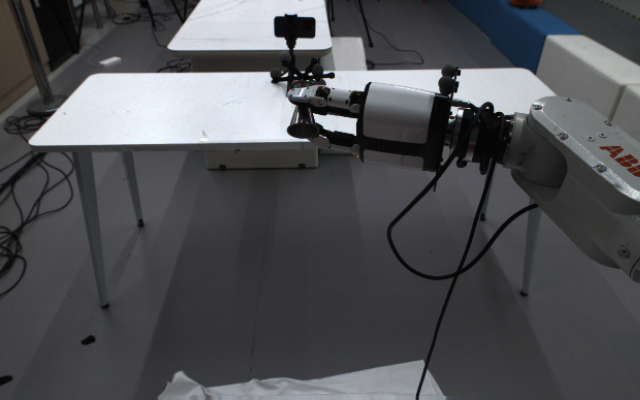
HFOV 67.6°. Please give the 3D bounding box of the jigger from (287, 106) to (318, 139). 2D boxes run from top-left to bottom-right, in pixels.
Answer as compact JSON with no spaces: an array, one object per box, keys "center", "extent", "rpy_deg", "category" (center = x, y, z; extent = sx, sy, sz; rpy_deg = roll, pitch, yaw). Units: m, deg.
[{"center":[-0.023,-0.127,0.663],"extent":[0.043,0.043,0.071],"rpy_deg":[1,70,-2],"category":"jigger"}]
